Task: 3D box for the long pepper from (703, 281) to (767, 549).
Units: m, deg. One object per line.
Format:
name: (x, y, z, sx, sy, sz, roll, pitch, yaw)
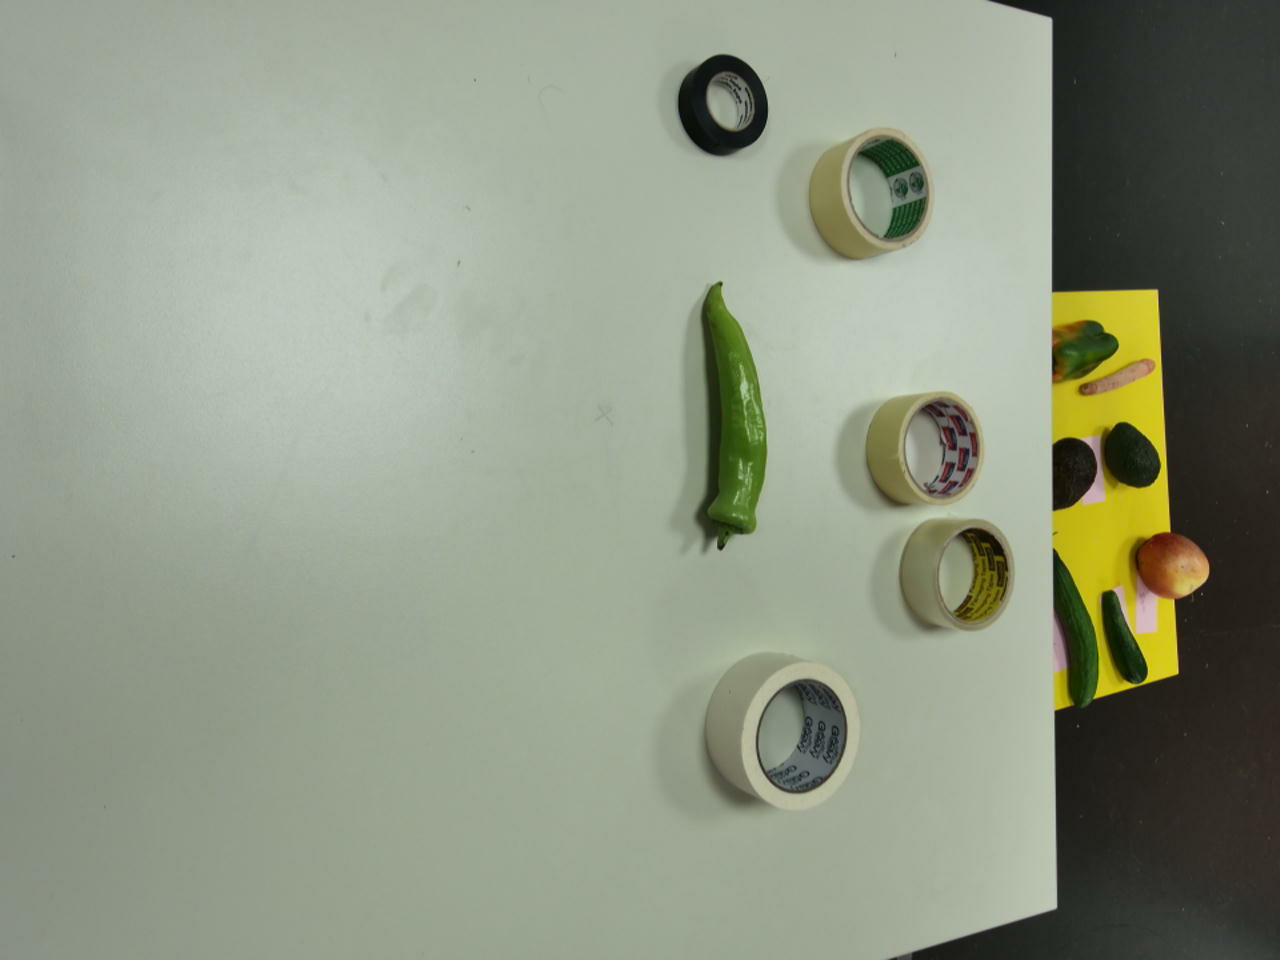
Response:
long pepper: (0.071, -0.047, 0.725, 0.046, 0.038, 0.197, 2, 90, -28)
